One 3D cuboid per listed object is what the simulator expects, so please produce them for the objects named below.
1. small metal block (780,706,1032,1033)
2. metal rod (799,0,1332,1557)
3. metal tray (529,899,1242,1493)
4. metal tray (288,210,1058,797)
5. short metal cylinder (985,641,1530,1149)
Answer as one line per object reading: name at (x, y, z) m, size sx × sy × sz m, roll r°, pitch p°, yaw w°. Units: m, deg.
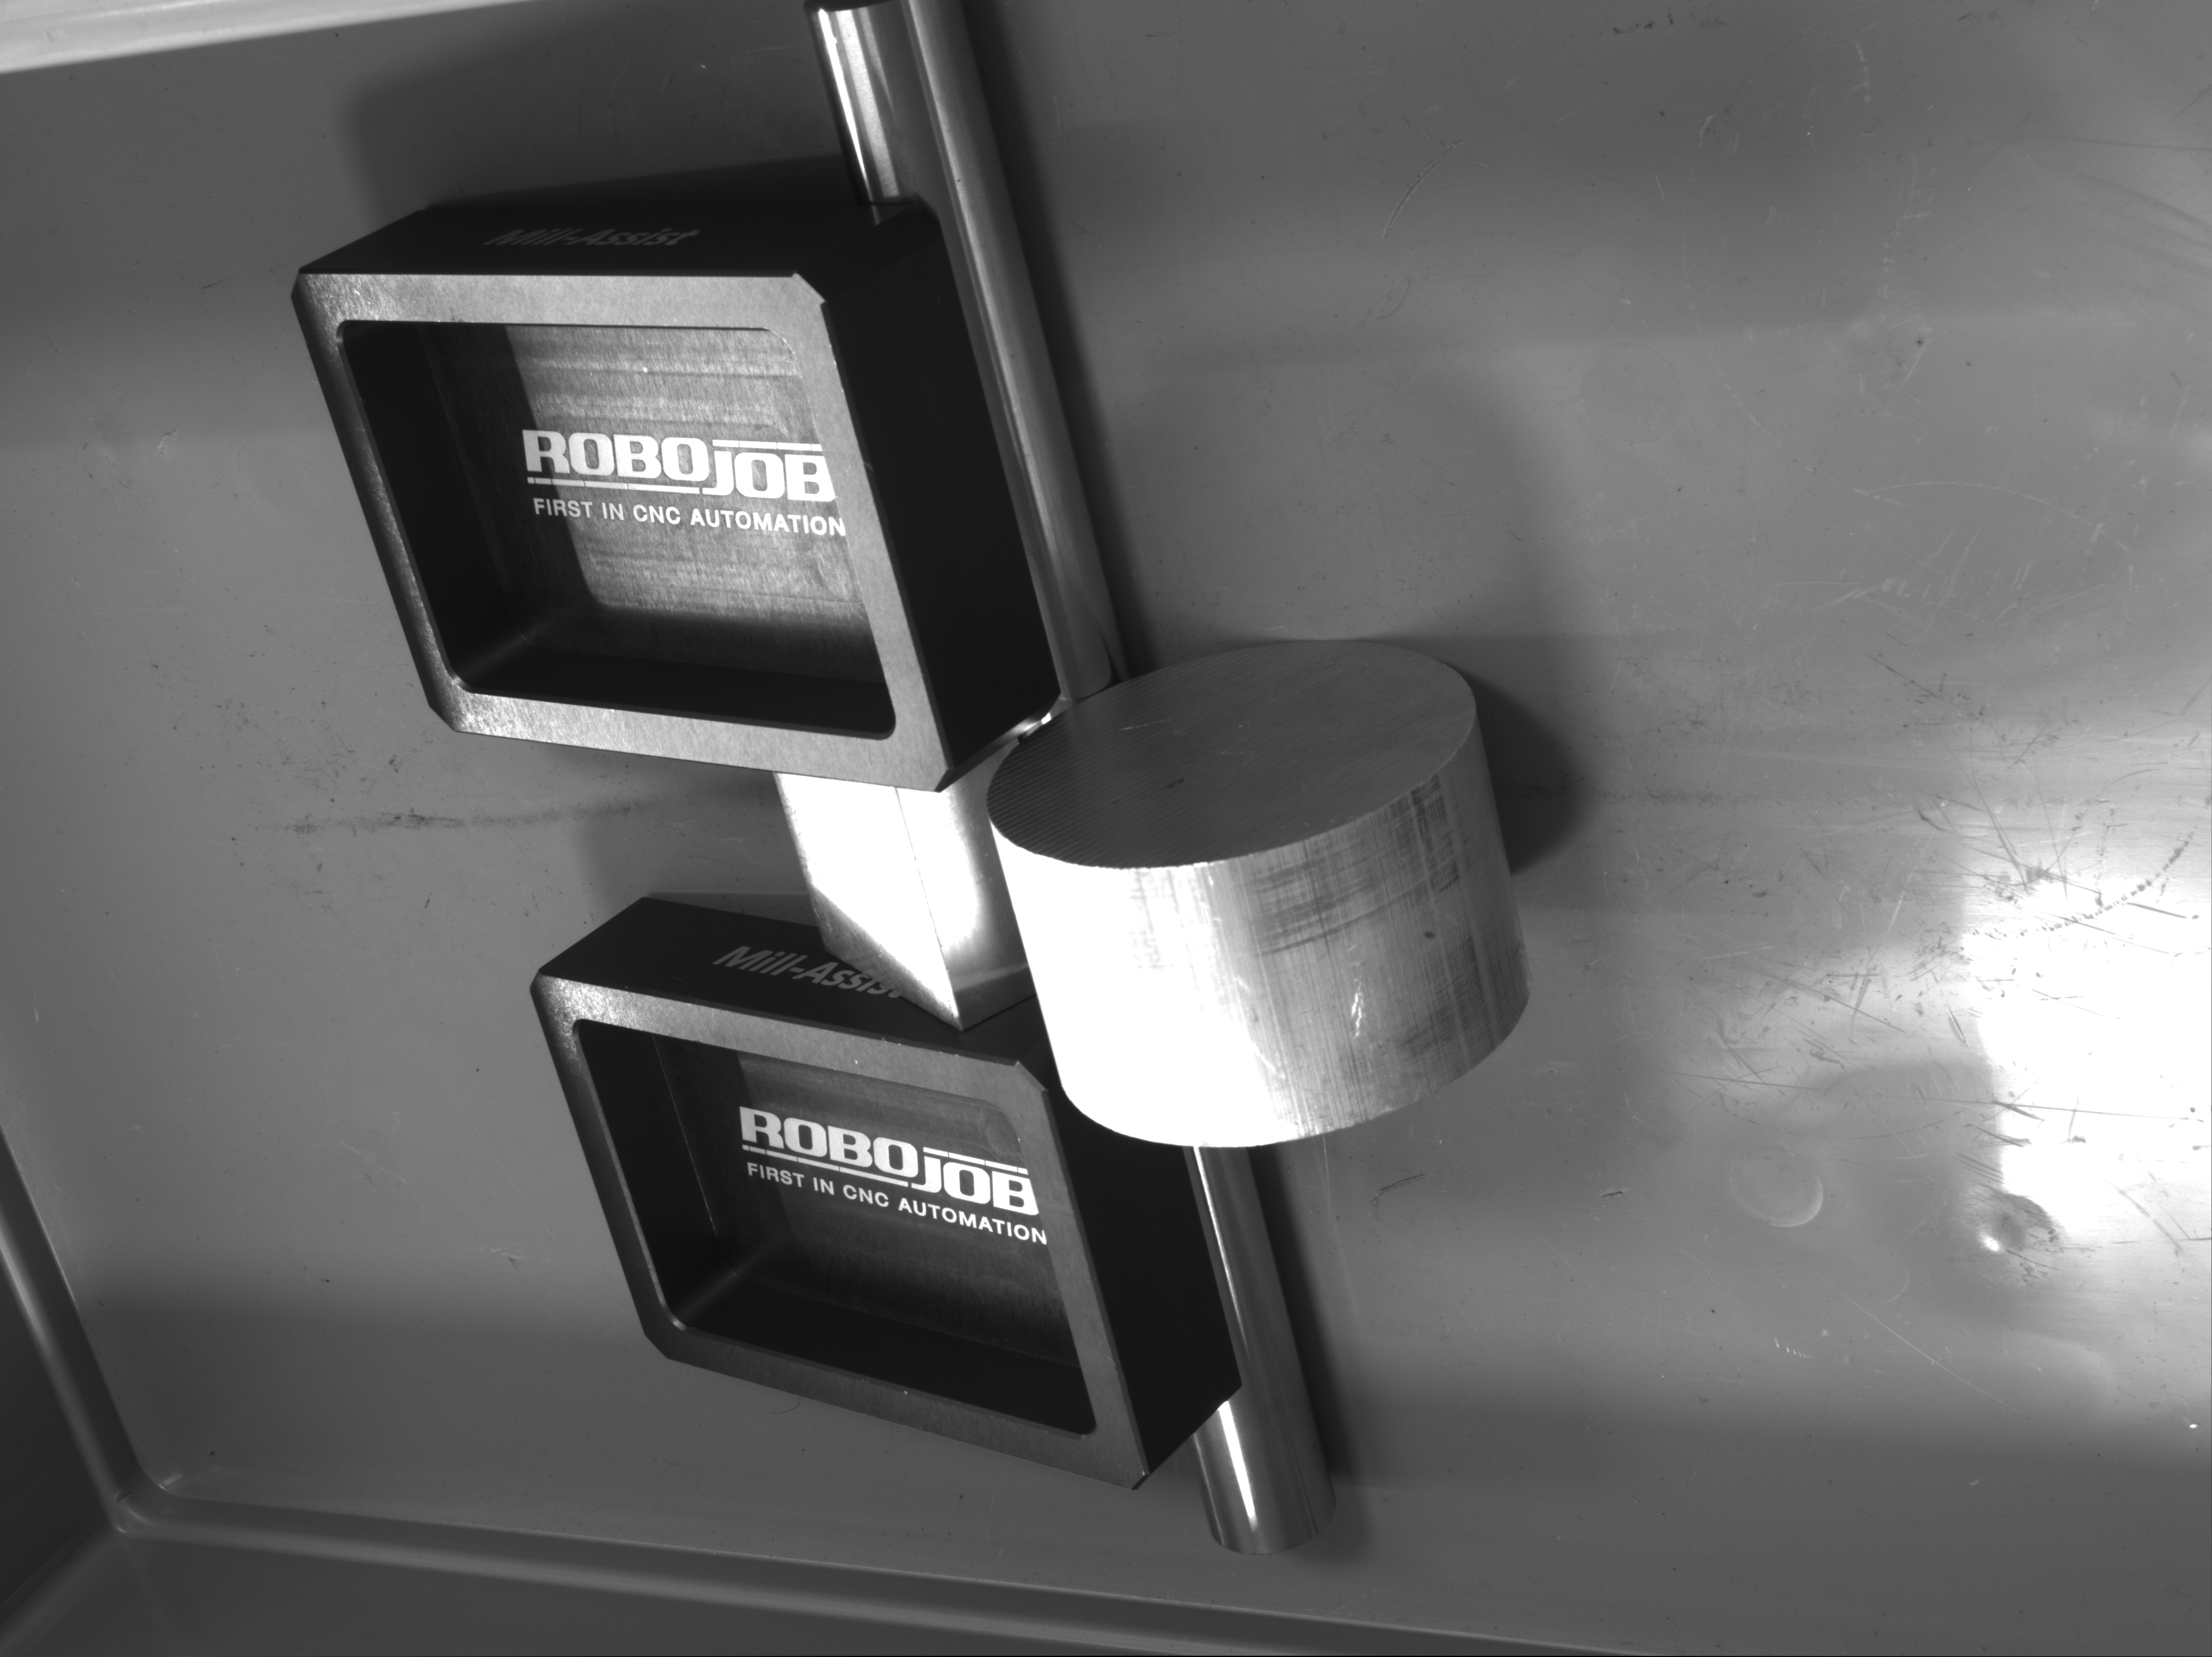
small metal block at (-0.033, 0.002, 0.647) m, size 0.050 × 0.025 × 0.050 m, roll 26°, pitch 135°, yaw 54°
metal rod at (-0.003, 0.000, 0.642) m, size 0.025 × 0.025 × 0.300 m, roll 0°, pitch 118°, yaw 28°
metal tray at (-0.043, 0.066, 0.683) m, size 0.130 × 0.030 × 0.090 m, roll 8°, pitch 123°, yaw 39°
metal tray at (-0.075, -0.057, 0.626) m, size 0.130 × 0.030 × 0.090 m, roll 7°, pitch 123°, yaw 39°
short metal cylinder at (0.025, 0.009, 0.598) m, size 0.080 × 0.080 × 0.050 m, roll 0°, pitch 118°, yaw 28°
